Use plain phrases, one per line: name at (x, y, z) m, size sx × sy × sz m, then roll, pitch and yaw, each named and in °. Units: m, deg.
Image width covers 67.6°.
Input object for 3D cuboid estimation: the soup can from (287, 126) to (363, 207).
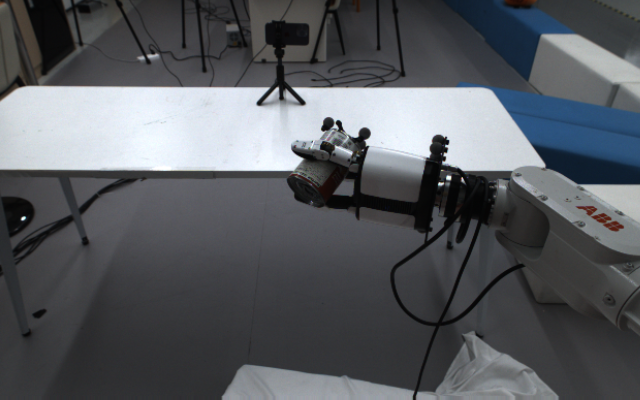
soup can at (0.006, -0.049, 0.719) m, size 0.067 × 0.067 × 0.101 m, roll 26°, pitch 66°, yaw 30°
